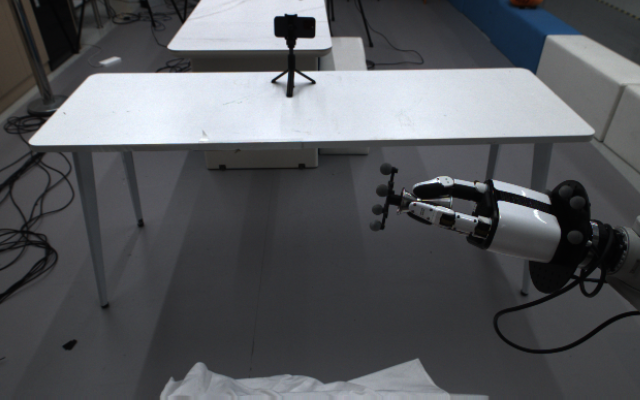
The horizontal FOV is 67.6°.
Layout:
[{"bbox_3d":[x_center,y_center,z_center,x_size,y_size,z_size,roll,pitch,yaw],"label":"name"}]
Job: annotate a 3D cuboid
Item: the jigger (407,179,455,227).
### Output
[{"bbox_3d":[0.151,0.005,0.676,0.071,0.043,0.043,12,35,4],"label":"jigger"}]
